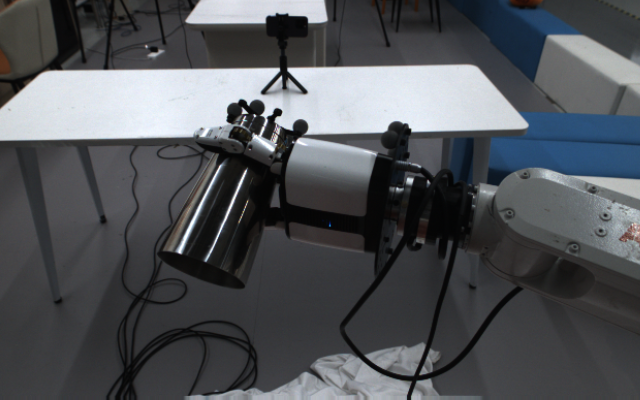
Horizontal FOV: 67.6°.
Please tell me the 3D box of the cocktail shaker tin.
[{"bbox_3d":[-0.088,-0.006,0.508,0.093,0.093,0.170,12,65,14],"label":"cocktail shaker tin"}]
